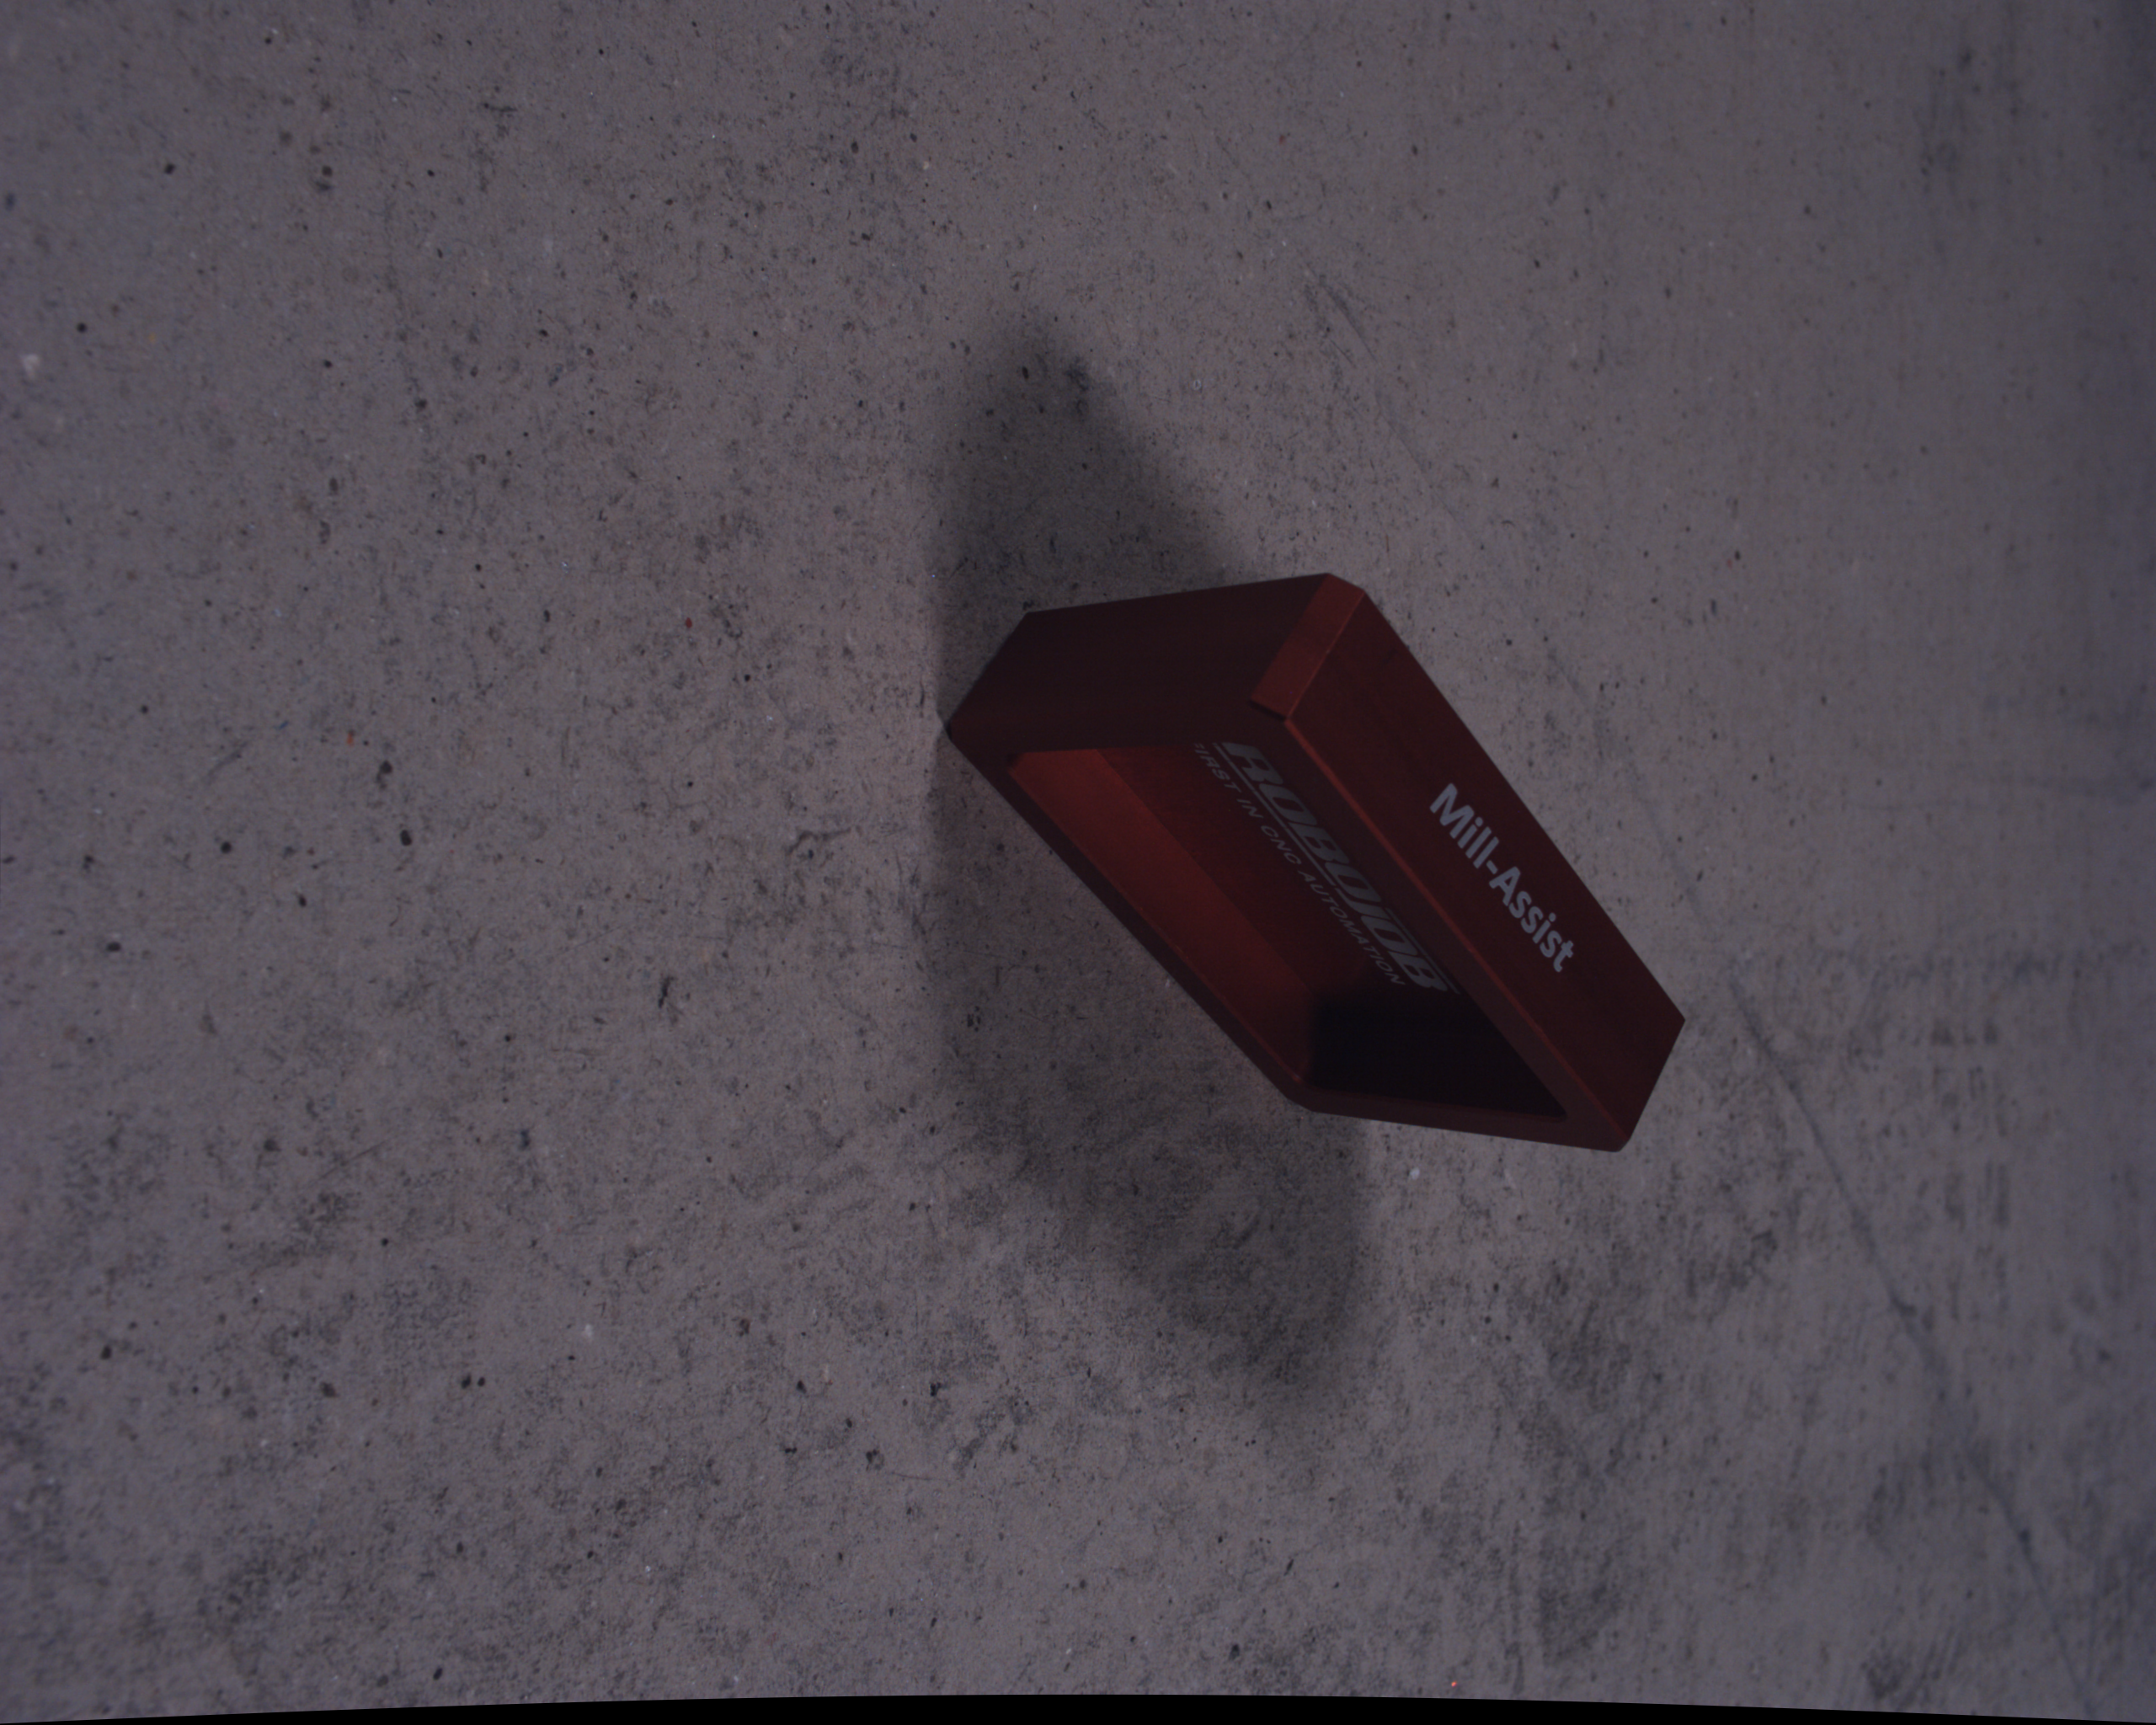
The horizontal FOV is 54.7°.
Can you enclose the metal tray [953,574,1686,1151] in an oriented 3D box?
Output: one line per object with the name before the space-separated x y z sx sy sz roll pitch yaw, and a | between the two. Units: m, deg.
metal tray | 0.047 0.003 0.406 0.130 0.090 0.030 47 62 -30
